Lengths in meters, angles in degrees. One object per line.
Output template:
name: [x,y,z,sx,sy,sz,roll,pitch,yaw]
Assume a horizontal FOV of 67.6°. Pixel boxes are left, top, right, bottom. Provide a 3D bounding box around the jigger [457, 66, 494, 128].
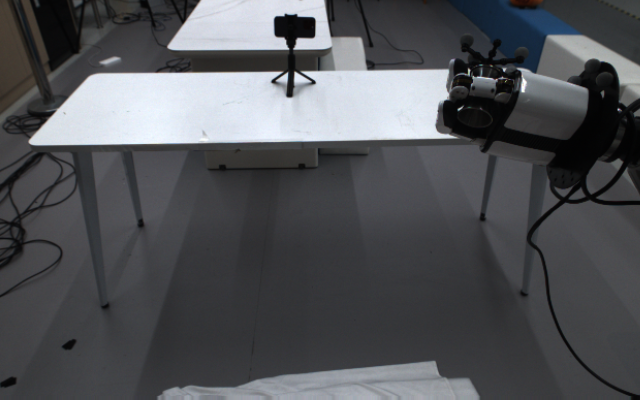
jigger: [0.205,-0.132,0.615,0.043,0.043,0.071,12,71,14]
